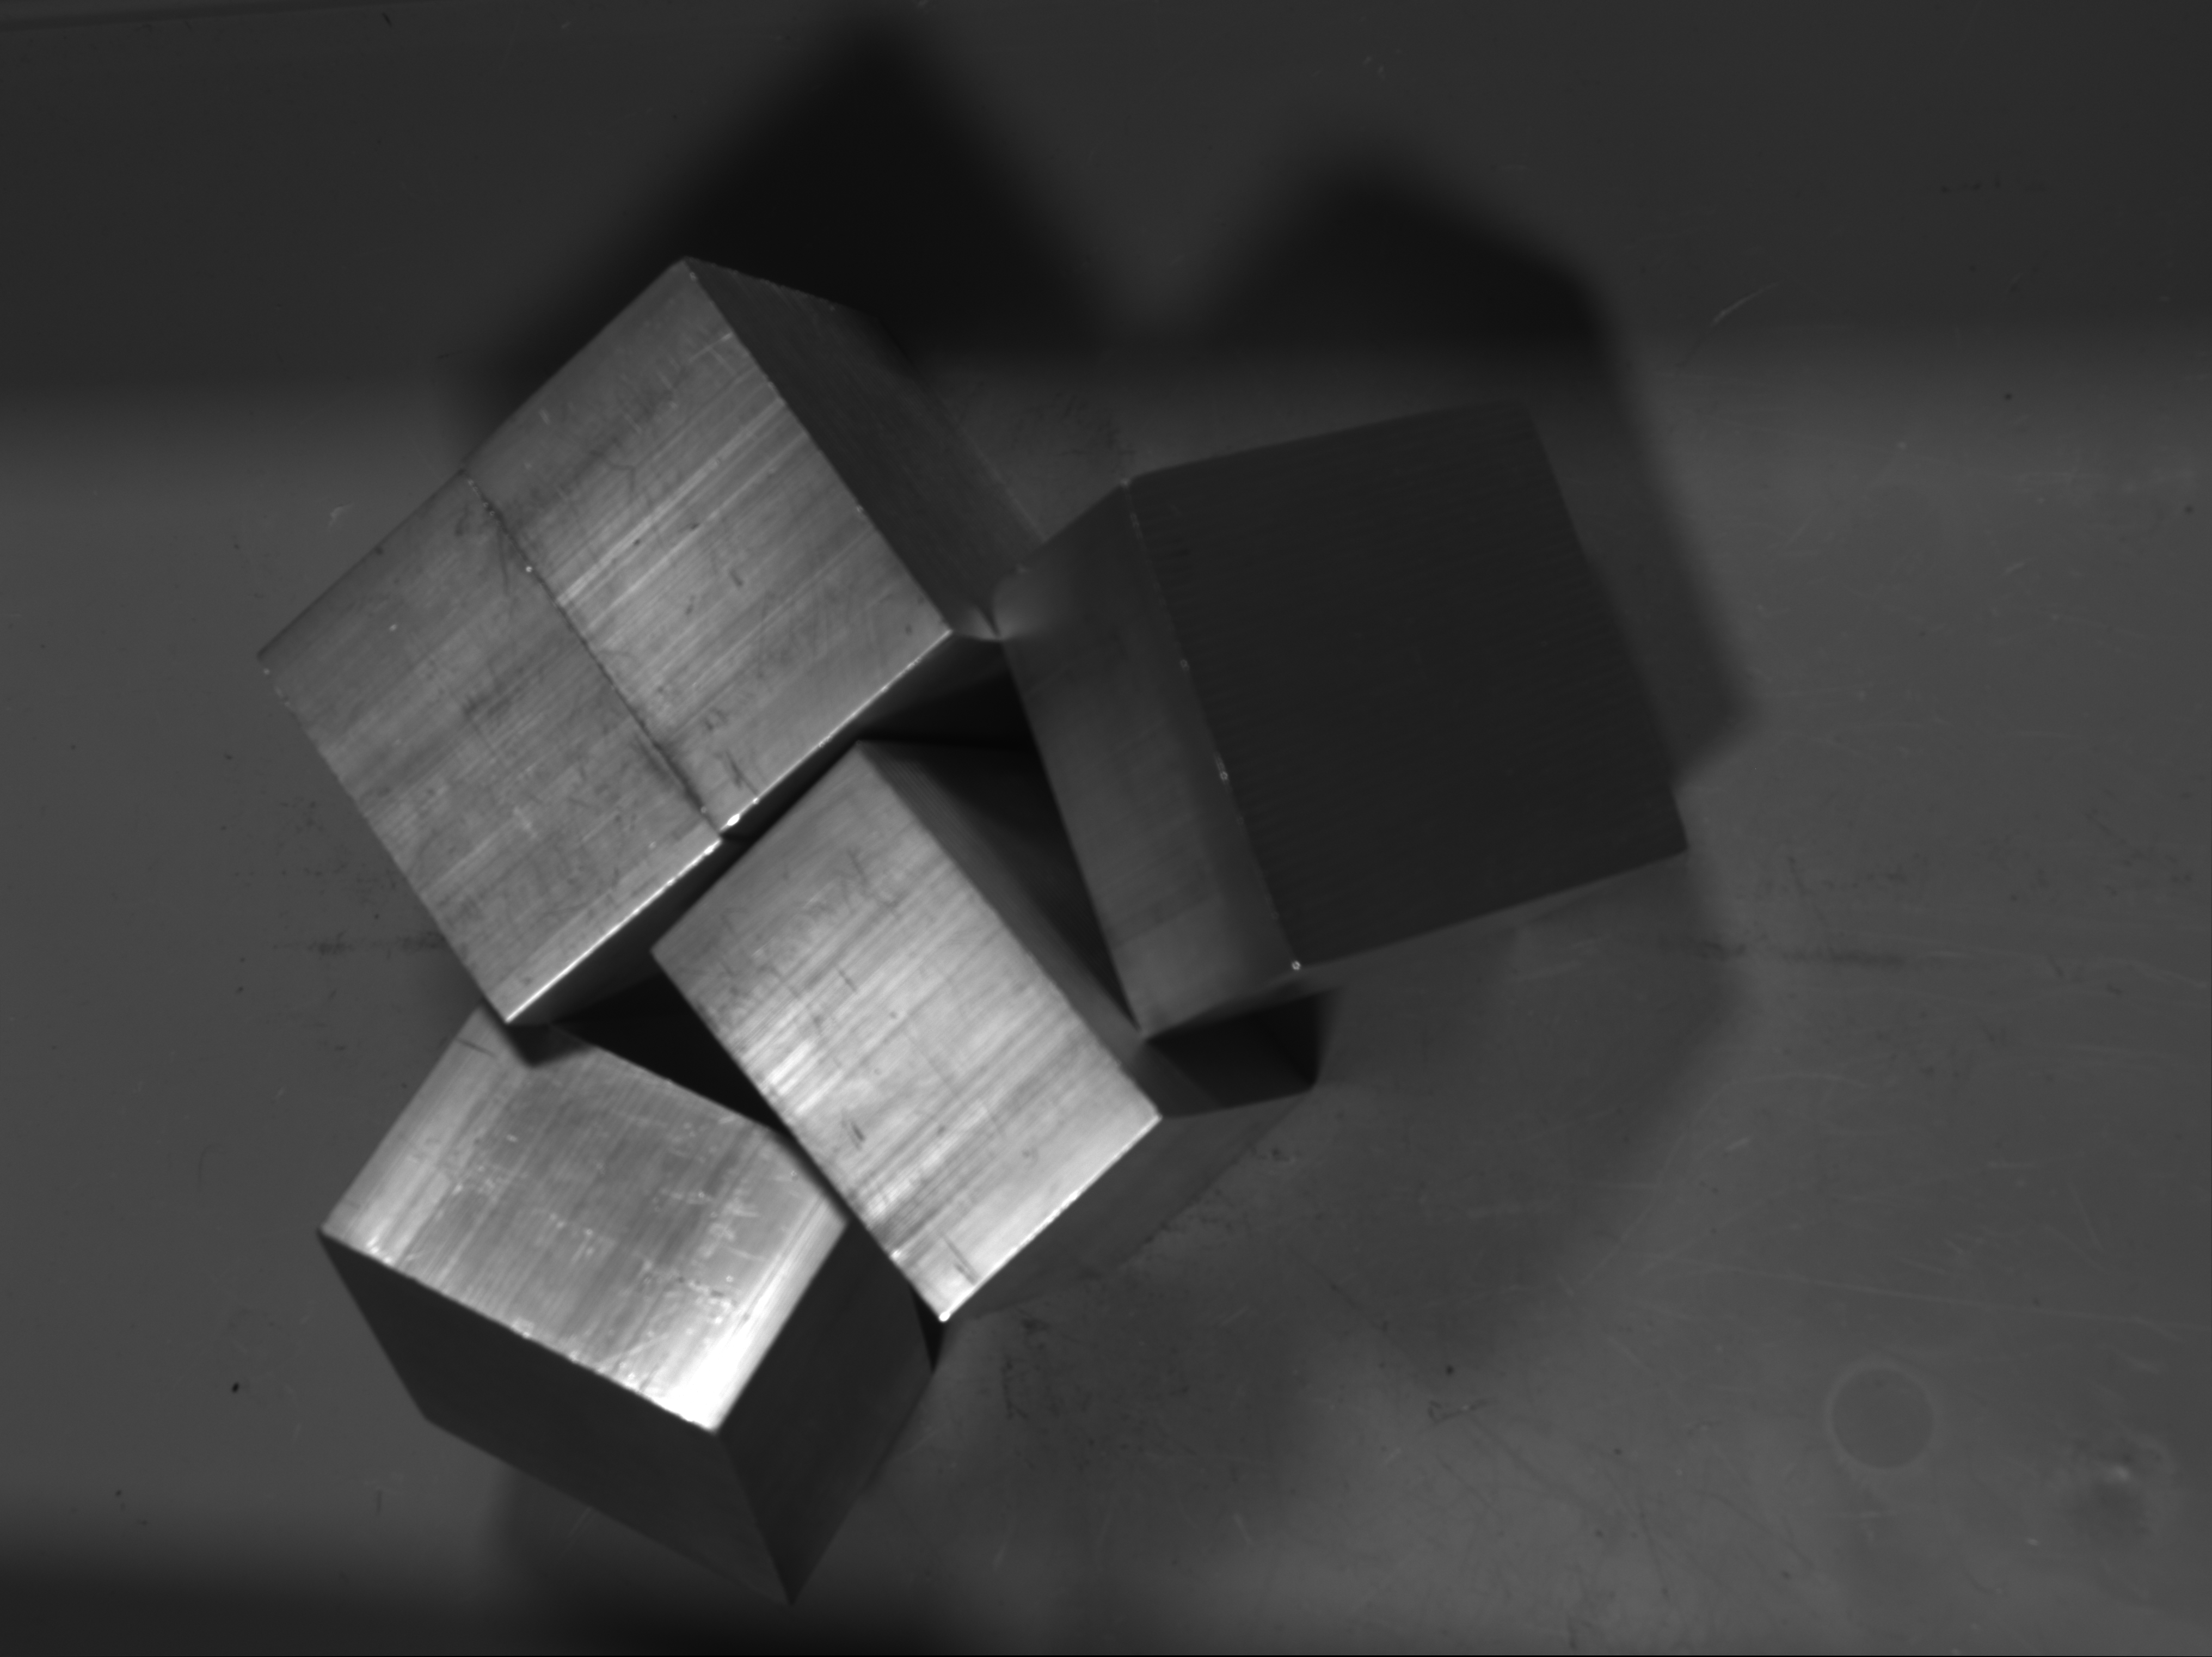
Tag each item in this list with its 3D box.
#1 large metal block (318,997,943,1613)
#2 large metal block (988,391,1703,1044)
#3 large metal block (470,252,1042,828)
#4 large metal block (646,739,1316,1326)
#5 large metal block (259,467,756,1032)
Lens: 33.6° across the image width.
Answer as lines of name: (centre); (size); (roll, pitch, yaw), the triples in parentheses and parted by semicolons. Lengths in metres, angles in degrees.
large metal block: (-0.080, 0.083, 0.635); (0.080, 0.080, 0.050); (23, 63, 18)
large metal block: (0.038, -0.018, 0.594); (0.050, 0.080, 0.080); (-31, 77, 58)
large metal block: (-0.050, -0.047, 0.632); (0.050, 0.080, 0.080); (-40, 77, 15)
large metal block: (-0.019, 0.032, 0.620); (0.050, 0.080, 0.080); (-43, 77, 15)
large metal block: (-0.089, -0.013, 0.646); (0.050, 0.080, 0.080); (-39, 78, 15)
